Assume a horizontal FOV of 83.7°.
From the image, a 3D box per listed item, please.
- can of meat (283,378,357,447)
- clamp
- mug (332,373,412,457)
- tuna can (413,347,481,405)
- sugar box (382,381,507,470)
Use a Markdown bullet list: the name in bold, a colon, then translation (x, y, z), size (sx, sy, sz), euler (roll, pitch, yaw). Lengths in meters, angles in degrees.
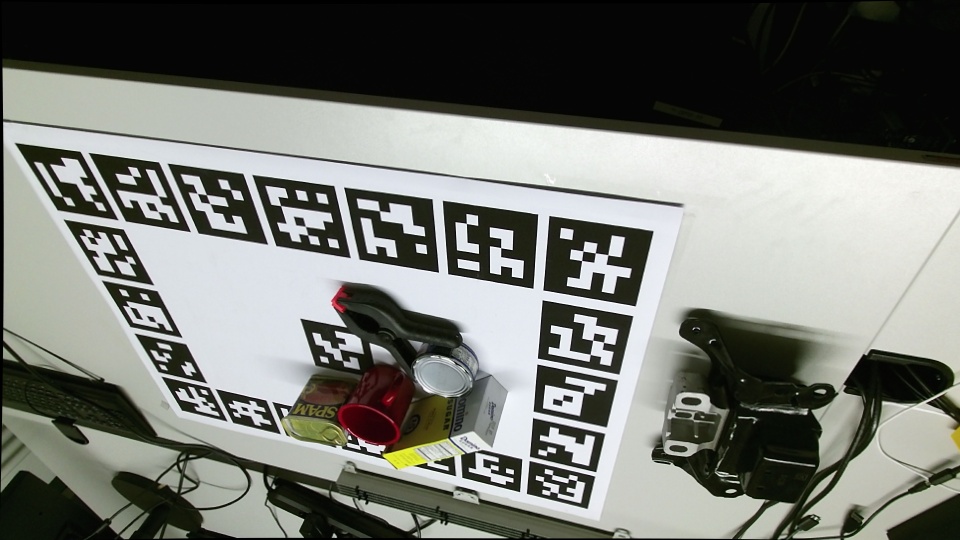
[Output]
- **can of meat**: translation (-0.237, 0.213, 0.805), size (0.102, 0.083, 0.058), euler (3, 128, 18)
- **clamp**: translation (-0.116, 0.077, 0.690), size (0.165, 0.036, 0.122), euler (39, 133, -7)
- **mug**: translation (-0.142, 0.193, 0.748), size (0.093, 0.081, 0.117), euler (29, 128, -4)
- **tuna can**: translation (-0.042, 0.136, 0.704), size (0.086, 0.033, 0.086), euler (9, 127, 12)
- **sugar box**: translation (-0.052, 0.218, 0.740), size (0.177, 0.092, 0.045), euler (-25, 116, 34)
